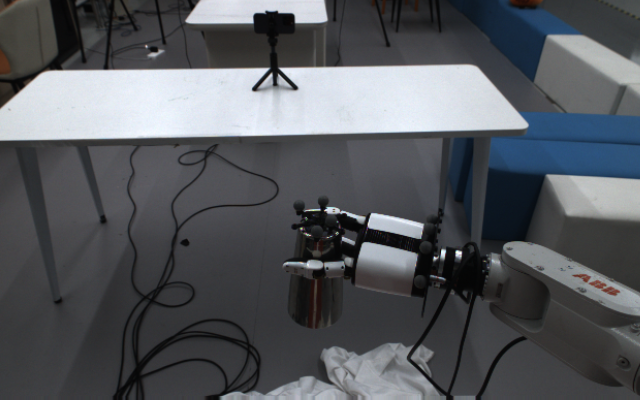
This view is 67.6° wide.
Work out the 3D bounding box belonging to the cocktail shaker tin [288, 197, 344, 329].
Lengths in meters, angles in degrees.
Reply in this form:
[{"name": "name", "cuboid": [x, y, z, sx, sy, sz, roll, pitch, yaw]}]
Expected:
[{"name": "cocktail shaker tin", "cuboid": [-0.001, 0.106, 0.766, 0.093, 0.170, 0.093, 2, 33, -1]}]
